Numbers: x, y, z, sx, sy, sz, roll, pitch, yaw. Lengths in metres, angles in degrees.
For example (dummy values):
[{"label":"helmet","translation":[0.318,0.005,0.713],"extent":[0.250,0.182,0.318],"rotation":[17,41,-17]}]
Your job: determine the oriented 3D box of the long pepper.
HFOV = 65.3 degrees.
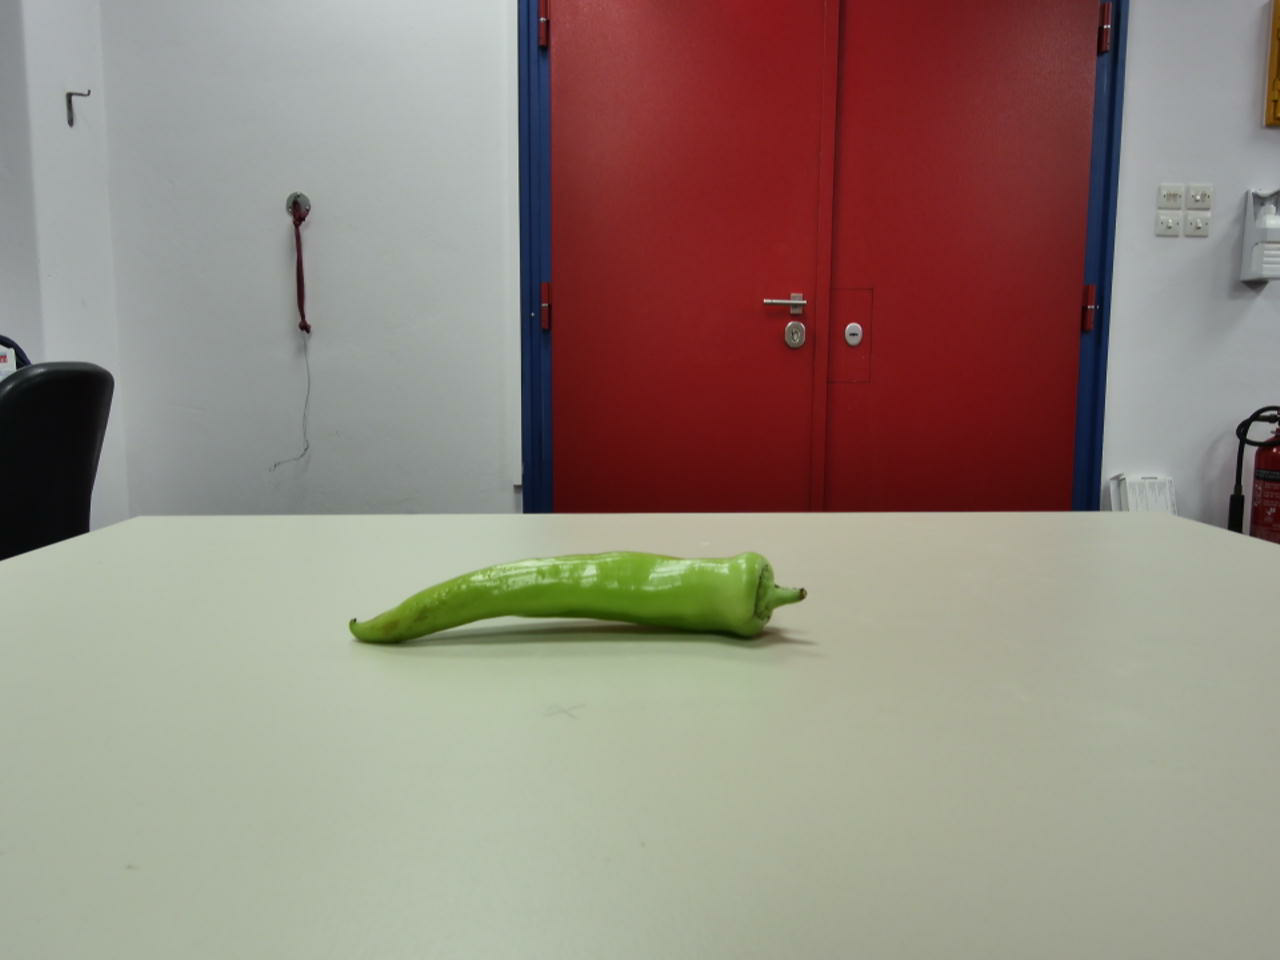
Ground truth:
[{"label":"long pepper","translation":[-0.028,0.050,0.441],"extent":[0.197,0.038,0.047],"rotation":[0,4,2]}]
